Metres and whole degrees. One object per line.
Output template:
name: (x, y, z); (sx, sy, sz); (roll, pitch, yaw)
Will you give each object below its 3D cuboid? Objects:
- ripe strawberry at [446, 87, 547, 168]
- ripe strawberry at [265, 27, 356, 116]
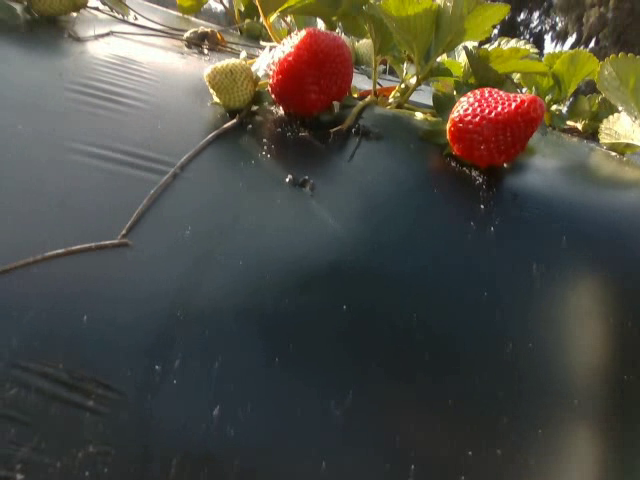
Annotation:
ripe strawberry: (0.064, -0.045, 0.207); (0.033, 0.038, 0.039); (35, -16, -4)
ripe strawberry: (-0.002, -0.065, 0.214); (0.035, 0.041, 0.036); (3, -5, 5)
